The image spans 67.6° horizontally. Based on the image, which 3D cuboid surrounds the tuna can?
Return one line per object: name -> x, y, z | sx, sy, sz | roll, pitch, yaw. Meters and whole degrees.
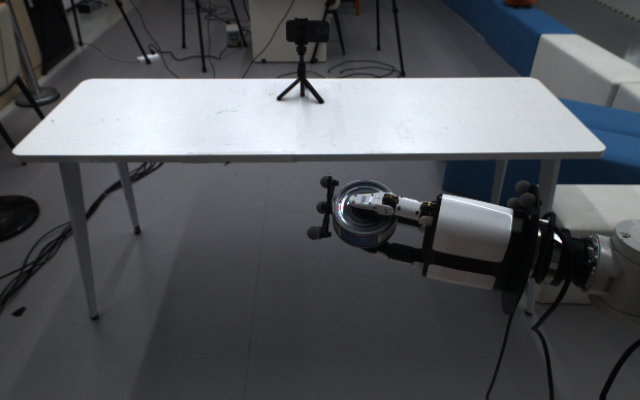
tuna can -> 0.061, 0.020, 0.620 | 0.085, 0.034, 0.085 | -2, 57, 3
